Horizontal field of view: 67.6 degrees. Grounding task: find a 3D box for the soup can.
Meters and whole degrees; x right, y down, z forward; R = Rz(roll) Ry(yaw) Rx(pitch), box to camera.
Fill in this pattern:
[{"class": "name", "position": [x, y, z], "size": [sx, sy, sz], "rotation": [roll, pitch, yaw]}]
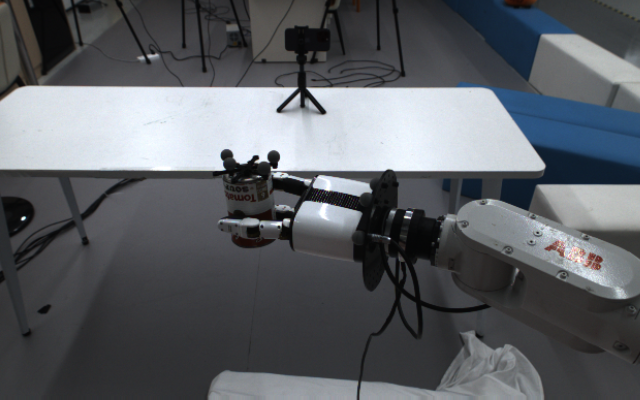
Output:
[{"class": "soup can", "position": [-0.096, 0.007, 0.679], "size": [0.067, 0.101, 0.067], "rotation": [-3, 27, 2]}]
